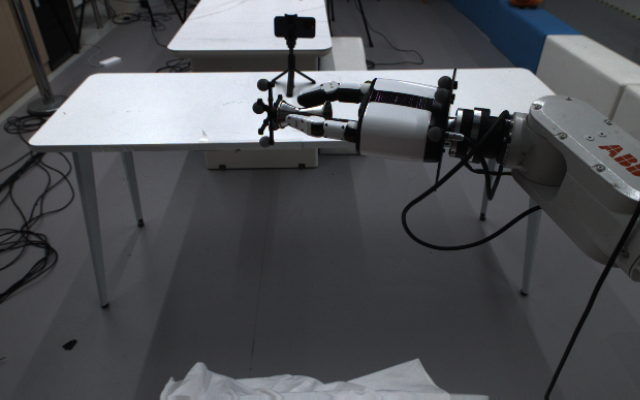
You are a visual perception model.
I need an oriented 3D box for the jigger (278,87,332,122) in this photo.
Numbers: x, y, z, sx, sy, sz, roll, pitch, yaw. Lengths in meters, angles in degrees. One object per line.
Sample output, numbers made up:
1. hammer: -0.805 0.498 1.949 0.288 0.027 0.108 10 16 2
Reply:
1. jigger: -0.015 -0.120 0.675 0.071 0.043 0.043 6 34 17
